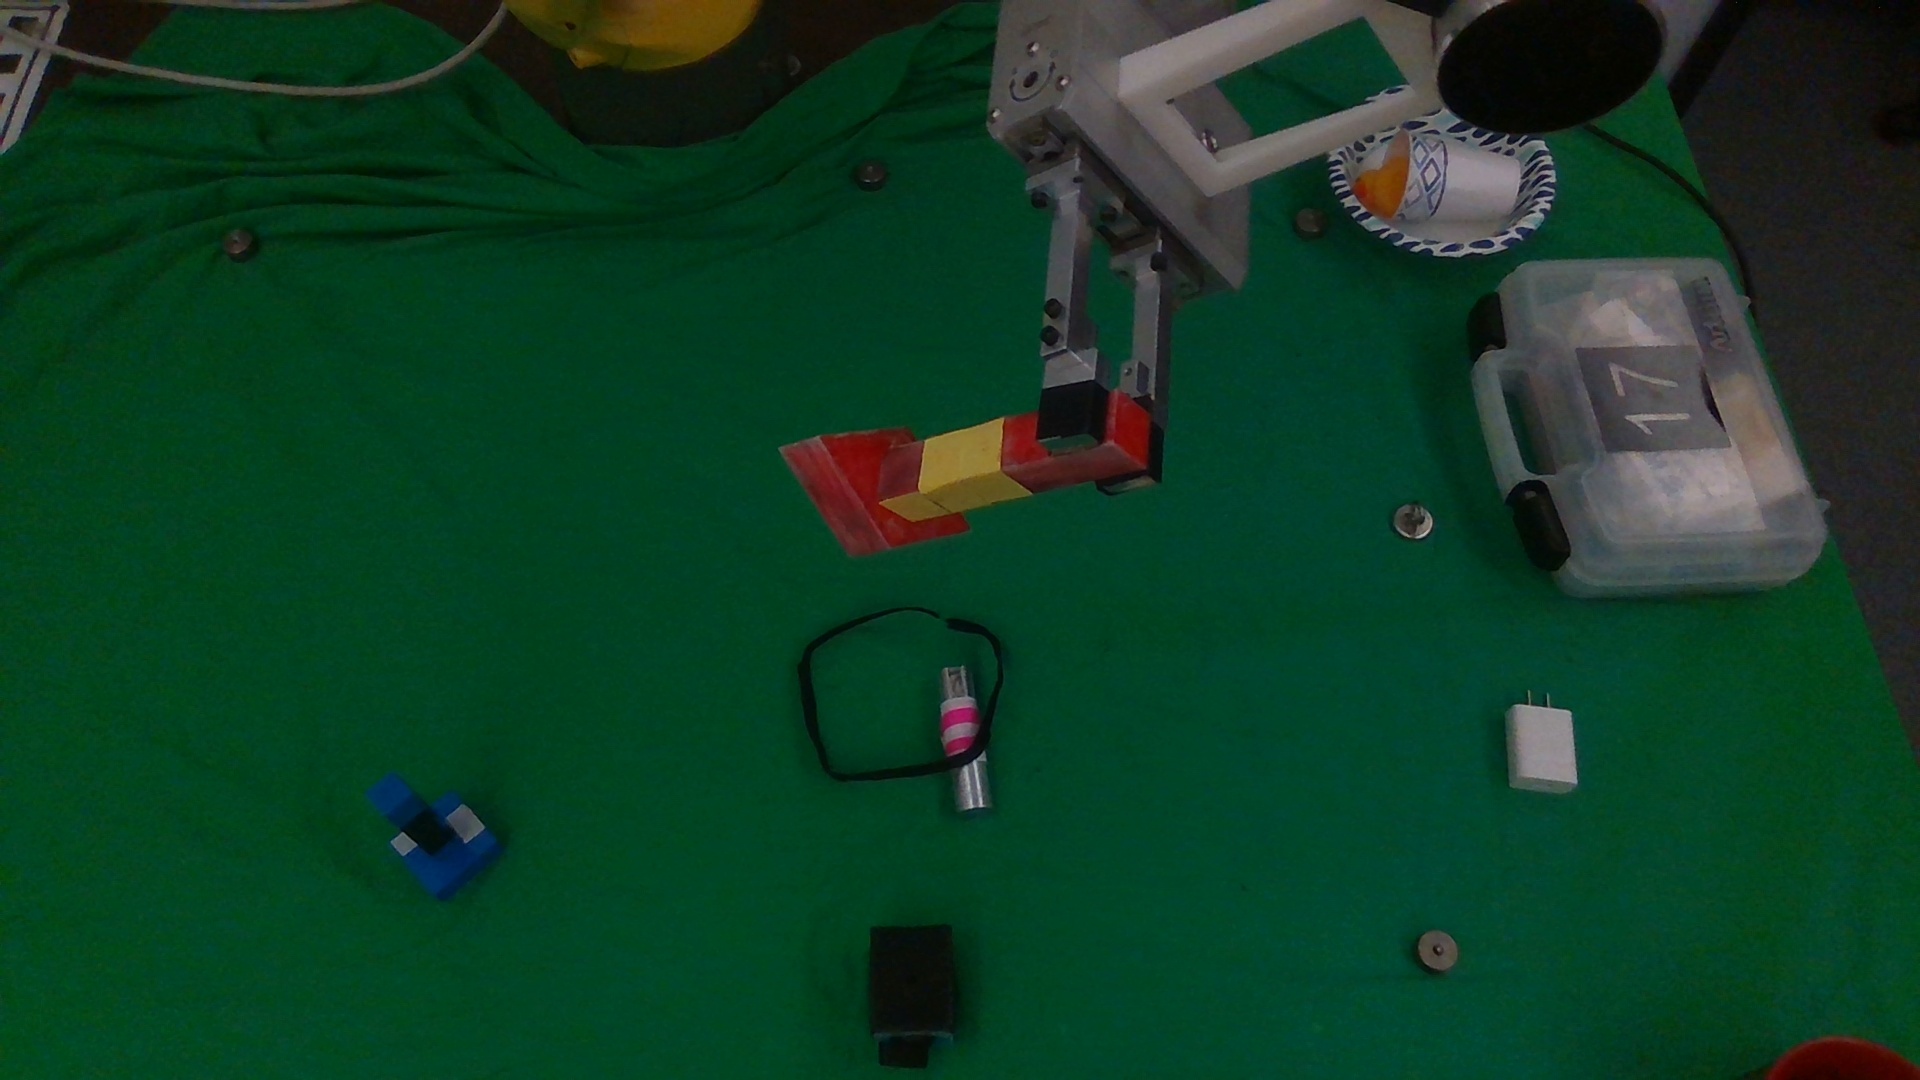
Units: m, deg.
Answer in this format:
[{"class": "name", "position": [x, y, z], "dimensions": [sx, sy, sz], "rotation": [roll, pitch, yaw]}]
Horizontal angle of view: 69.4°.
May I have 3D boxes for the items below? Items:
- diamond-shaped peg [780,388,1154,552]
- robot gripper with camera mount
[{"class": "diamond-shaped peg", "position": [0.008, -0.027, 0.468], "dimensions": [0.074, 0.122, 0.045], "rotation": [-14, 93, -51]}, {"class": "robot gripper with camera mount", "position": [0.113, -0.105, 0.430], "dimensions": [0.194, 0.118, 0.158], "rotation": [-6, 66, 32]}]
